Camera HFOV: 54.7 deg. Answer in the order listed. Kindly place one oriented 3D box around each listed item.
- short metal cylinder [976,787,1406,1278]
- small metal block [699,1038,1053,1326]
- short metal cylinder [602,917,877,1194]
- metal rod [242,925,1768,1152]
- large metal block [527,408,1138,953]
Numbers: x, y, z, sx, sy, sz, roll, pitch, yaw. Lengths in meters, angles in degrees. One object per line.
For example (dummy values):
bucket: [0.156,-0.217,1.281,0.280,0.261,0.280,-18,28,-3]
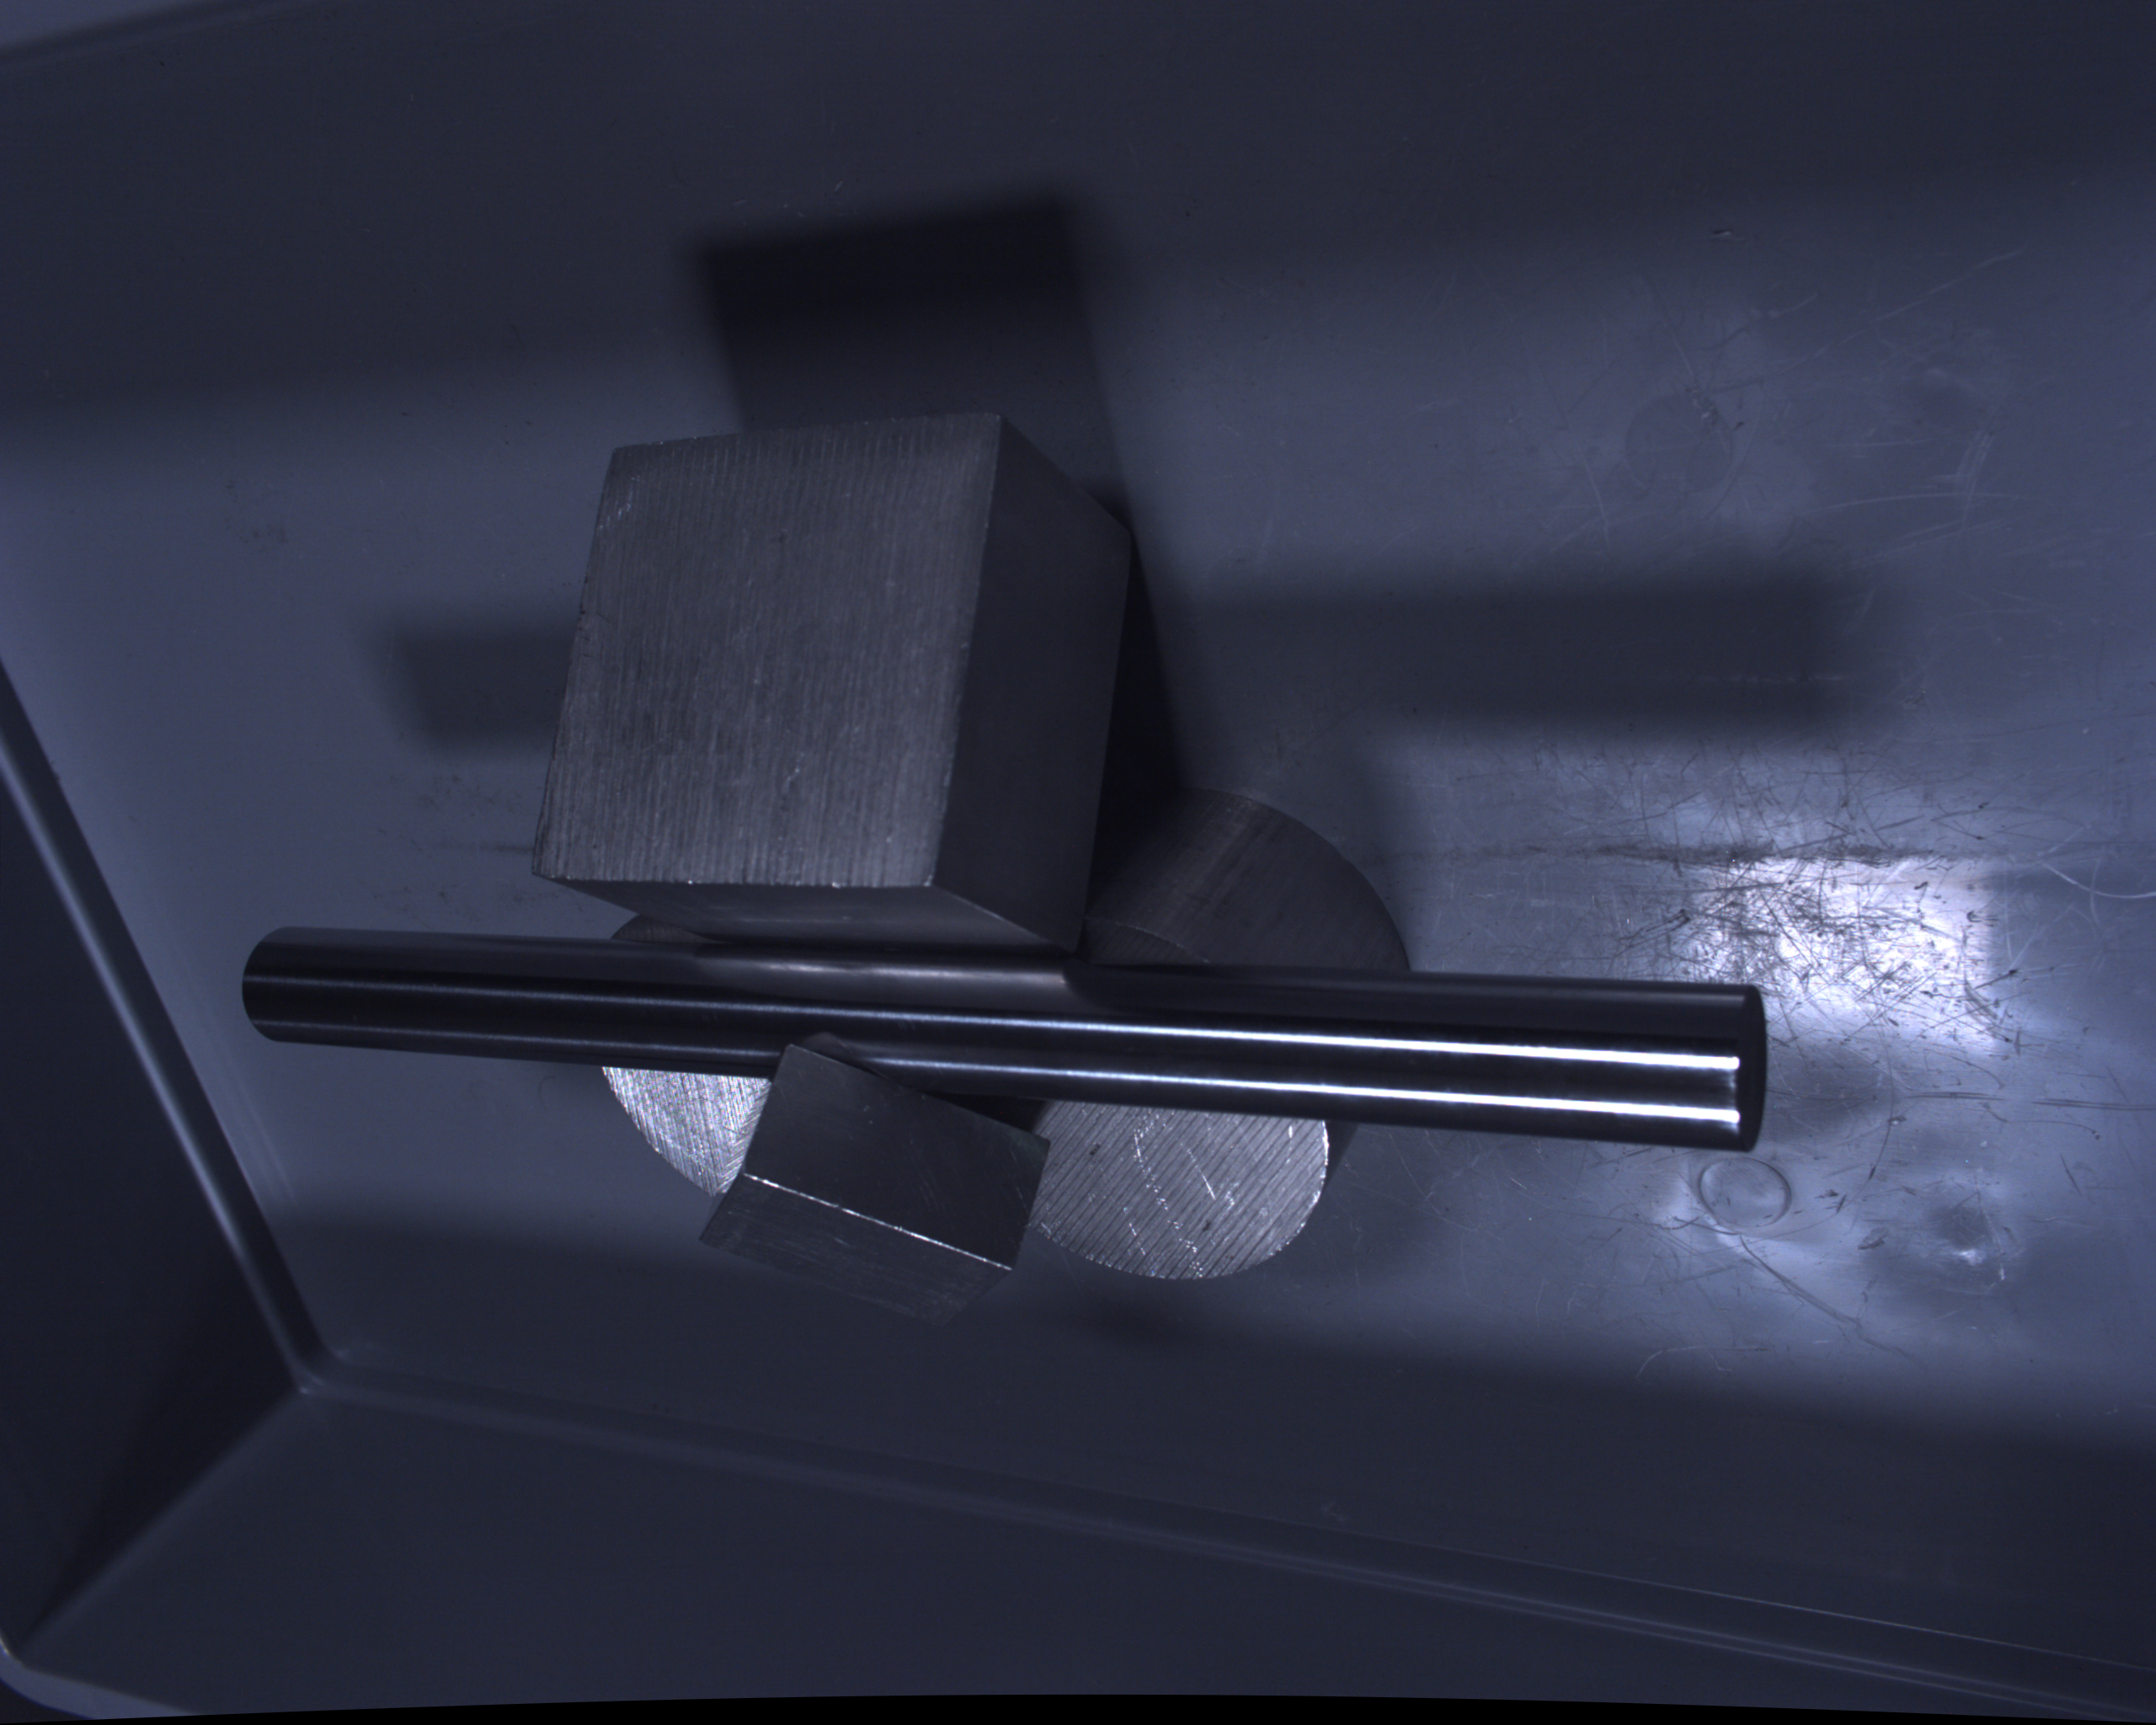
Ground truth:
short metal cylinder: [0.018,0.032,0.400,0.080,0.050,0.079,13,124,20]
small metal block: [-0.038,0.060,0.384,0.050,0.025,0.050,21,151,-8]
short metal cylinder: [-0.054,0.031,0.437,0.080,0.050,0.079,13,124,20]
metal rod: [-0.034,0.028,0.376,0.301,0.025,0.025,1,119,27]
large metal block: [-0.041,-0.029,0.366,0.080,0.050,0.080,1,76,27]
